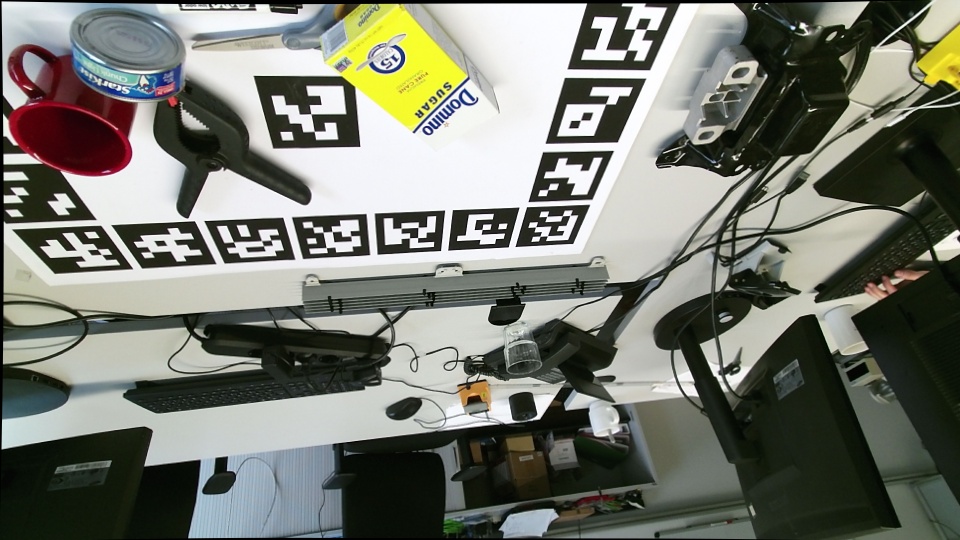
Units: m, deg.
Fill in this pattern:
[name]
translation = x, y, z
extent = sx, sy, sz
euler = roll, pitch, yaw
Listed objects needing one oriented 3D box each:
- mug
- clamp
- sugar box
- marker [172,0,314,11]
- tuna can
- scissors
[mug]
translation = -0.377, -0.163, 0.512
extent = 0.093, 0.081, 0.117
euler = -19, 148, 12
[clamp]
translation = -0.303, -0.140, 0.618
extent = 0.166, 0.036, 0.203
euler = -10, 144, -2
[sugar box]
translation = -0.067, -0.205, 0.556
extent = 0.093, 0.045, 0.177
euler = -25, 149, 20
[marker]
translation = -0.213, -0.248, 0.487
extent = 0.121, 0.019, 0.020
euler = -6, 144, -8
[tuna can]
translation = -0.312, -0.195, 0.477
extent = 0.086, 0.085, 0.034
euler = 7, 142, -24
[scissors]
translation = -0.172, -0.225, 0.527
extent = 0.203, 0.016, 0.088
euler = -9, 149, -1
